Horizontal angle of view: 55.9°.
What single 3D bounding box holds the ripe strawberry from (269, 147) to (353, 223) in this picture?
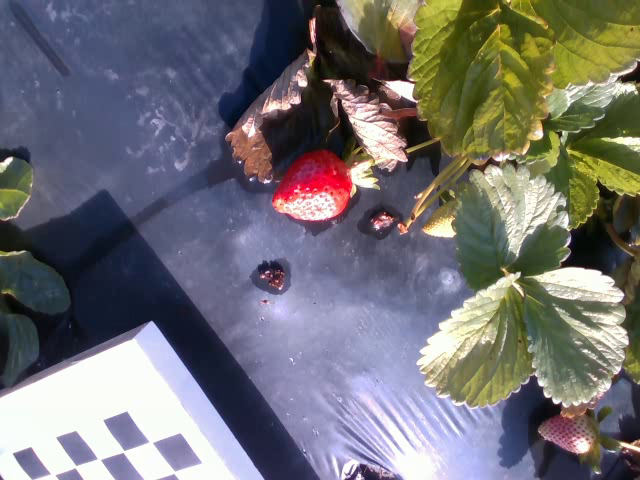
[{"bbox_3d":[-0.011,-0.020,0.278,0.054,0.047,0.037,-21,25,-21],"label":"ripe strawberry"}]
